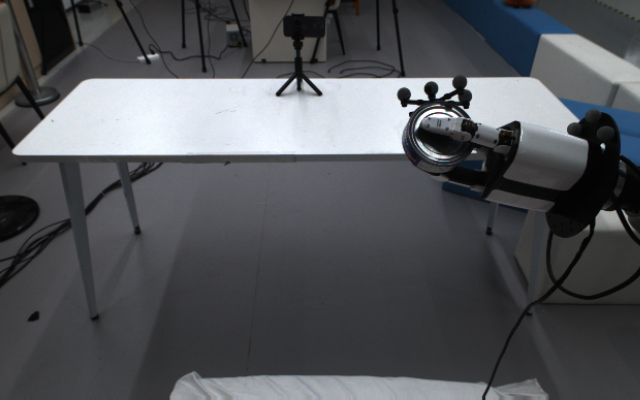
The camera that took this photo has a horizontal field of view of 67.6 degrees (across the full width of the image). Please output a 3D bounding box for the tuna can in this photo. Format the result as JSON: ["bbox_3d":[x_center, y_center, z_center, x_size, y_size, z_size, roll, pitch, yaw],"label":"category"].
[{"bbox_3d":[0.148,-0.080,0.607,0.085,0.034,0.085,1,73,-4],"label":"tuna can"}]
